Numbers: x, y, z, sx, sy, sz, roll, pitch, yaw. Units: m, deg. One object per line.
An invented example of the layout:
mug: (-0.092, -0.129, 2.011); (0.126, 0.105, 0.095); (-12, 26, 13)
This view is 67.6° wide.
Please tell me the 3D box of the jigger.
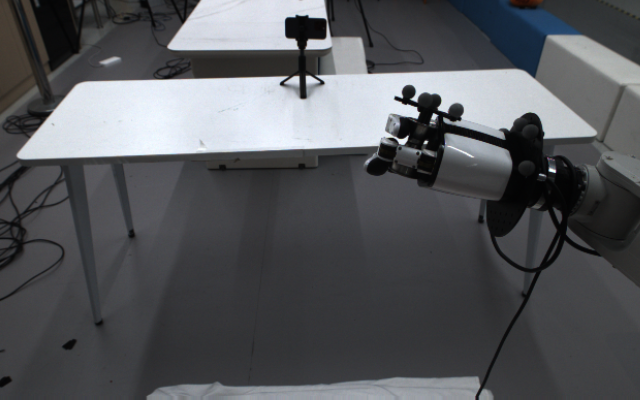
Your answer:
jigger: (0.118, -0.066, 0.610); (0.043, 0.071, 0.043); (18, 17, -6)
